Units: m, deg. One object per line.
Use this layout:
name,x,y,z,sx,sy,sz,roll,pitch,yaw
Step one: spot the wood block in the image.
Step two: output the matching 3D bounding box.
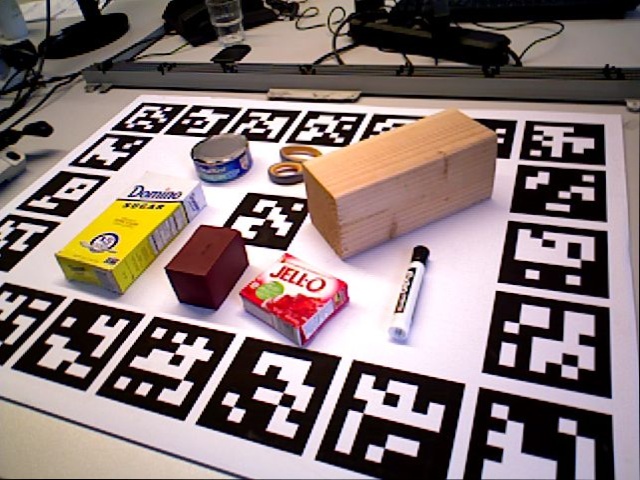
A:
wood block,0.101,-0.057,0.629,0.204,0.092,0.089,-23,42,-13

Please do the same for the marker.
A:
marker,0.096,0.059,0.549,0.020,0.020,0.118,9,48,22

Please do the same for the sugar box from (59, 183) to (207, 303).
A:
sugar box,-0.228,-0.003,0.684,0.093,0.046,0.172,11,47,24

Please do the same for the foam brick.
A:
foam brick,-0.115,0.041,0.594,0.053,0.052,0.076,9,46,22

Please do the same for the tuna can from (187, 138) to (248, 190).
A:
tuna can,-0.148,-0.110,0.785,0.086,0.034,0.084,-8,42,6

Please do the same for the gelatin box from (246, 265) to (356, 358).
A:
gelatin box,-0.020,0.070,0.560,0.090,0.031,0.072,23,53,34

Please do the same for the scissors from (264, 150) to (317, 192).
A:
scissors,0.018,-0.086,0.735,0.204,0.016,0.086,11,47,28
